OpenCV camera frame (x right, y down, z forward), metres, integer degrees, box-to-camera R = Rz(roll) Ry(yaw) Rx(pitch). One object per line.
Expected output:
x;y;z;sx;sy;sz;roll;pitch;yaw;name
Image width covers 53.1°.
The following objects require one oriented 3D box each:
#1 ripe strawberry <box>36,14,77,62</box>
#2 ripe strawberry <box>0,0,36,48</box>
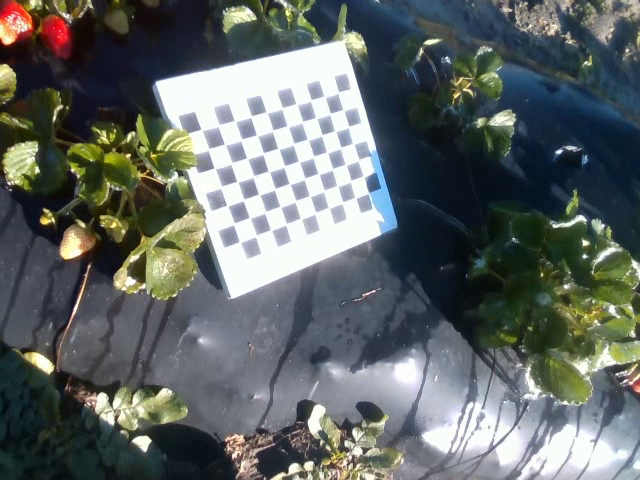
-0.342;-0.264;0.829;0.043;0.059;0.040;-22;5;-29;ripe strawberry
-0.393;-0.270;0.810;0.052;0.070;0.040;33;-24;-33;ripe strawberry
